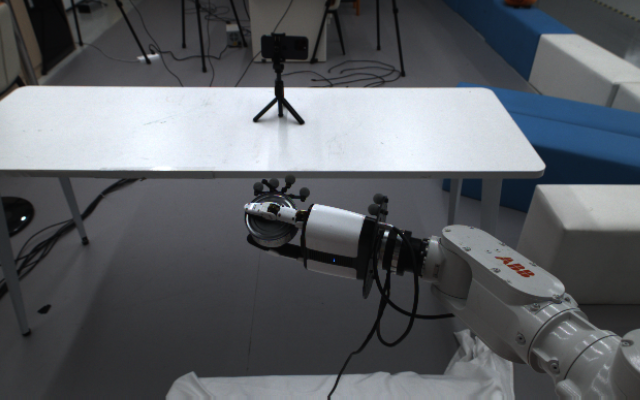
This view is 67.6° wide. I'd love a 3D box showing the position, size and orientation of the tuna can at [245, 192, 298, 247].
[{"bbox_3d":[-0.076,0.031,0.774,0.085,0.034,0.085,-3,57,4],"label":"tuna can"}]
